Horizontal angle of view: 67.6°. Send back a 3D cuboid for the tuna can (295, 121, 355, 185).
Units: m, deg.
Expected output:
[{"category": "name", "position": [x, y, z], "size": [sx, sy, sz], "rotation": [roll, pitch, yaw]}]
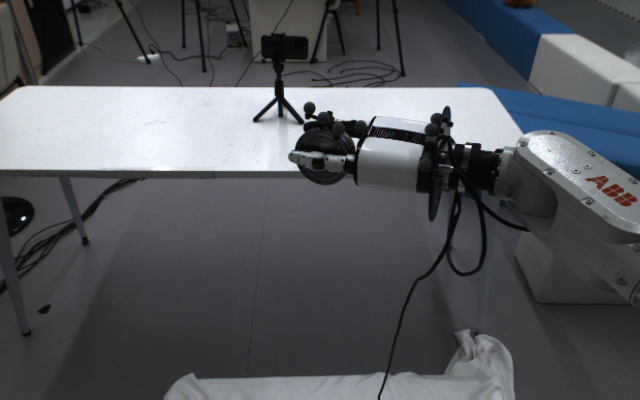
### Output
[{"category": "tuna can", "position": [0.010, -0.068, 0.709], "size": [0.085, 0.085, 0.034], "rotation": [16, 28, 19]}]
